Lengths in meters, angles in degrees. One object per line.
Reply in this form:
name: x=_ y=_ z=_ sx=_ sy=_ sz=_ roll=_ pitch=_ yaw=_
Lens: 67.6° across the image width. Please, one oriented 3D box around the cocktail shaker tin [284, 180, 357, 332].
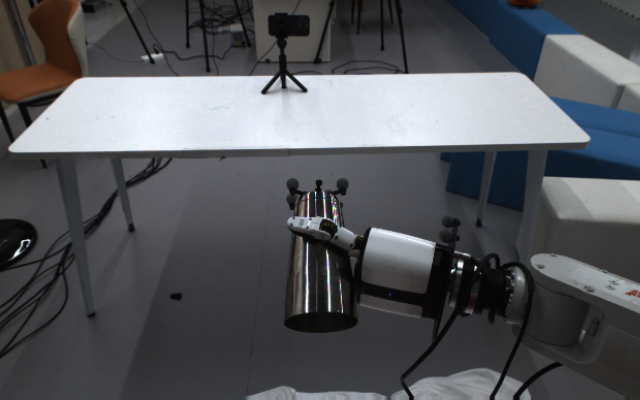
cocktail shaker tin: x=-0.002 y=0.077 z=0.631 sx=0.093 sy=0.093 sz=0.170 roll=0 pitch=59 yaw=-3
